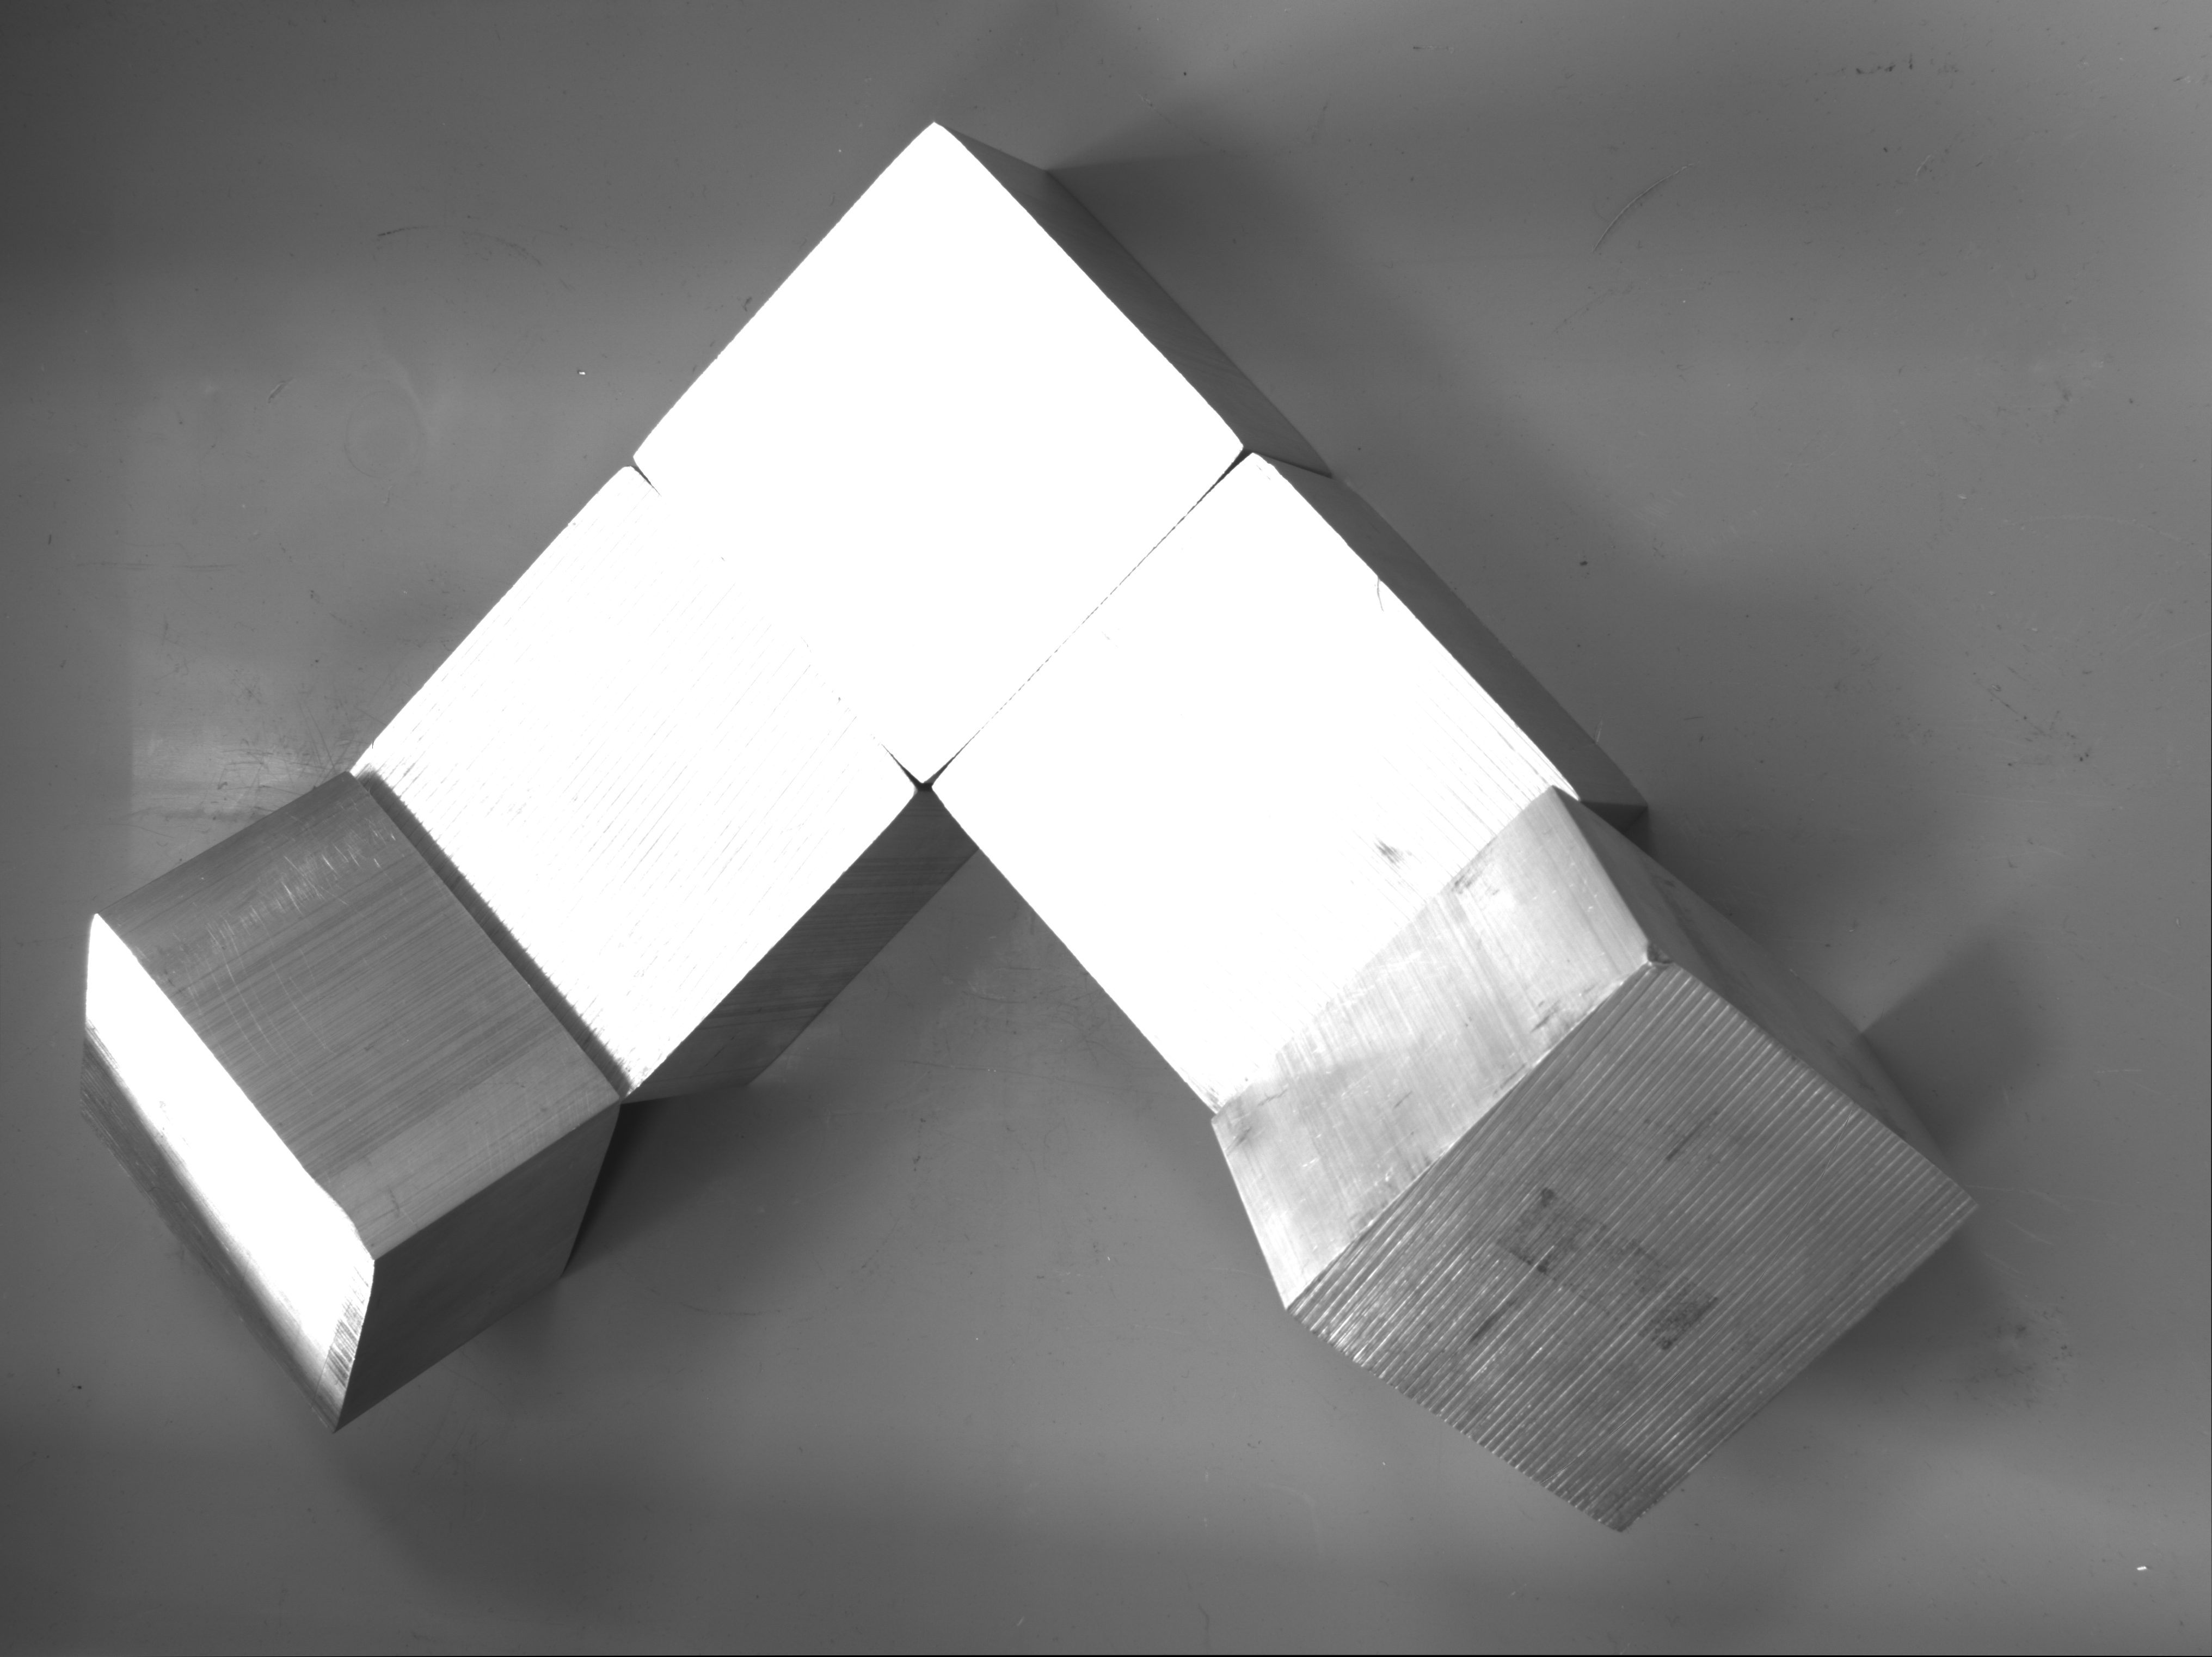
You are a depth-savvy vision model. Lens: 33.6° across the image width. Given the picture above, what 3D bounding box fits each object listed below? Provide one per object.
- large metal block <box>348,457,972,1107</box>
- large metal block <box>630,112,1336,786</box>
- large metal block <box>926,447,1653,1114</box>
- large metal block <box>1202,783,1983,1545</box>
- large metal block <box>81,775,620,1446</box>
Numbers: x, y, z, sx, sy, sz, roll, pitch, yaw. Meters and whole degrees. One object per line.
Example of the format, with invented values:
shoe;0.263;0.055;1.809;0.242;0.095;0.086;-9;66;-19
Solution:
large metal block;-0.075;-0.008;0.659;0.080;0.050;0.080;-46;76;14
large metal block;-0.021;-0.064;0.639;0.080;0.050;0.080;-46;76;14
large metal block;0.031;-0.005;0.620;0.080;0.050;0.080;-46;76;14
large metal block;0.076;0.054;0.581;0.080;0.050;0.080;36;106;-28
large metal block;-0.138;0.052;0.658;0.080;0.050;0.080;48;147;14
